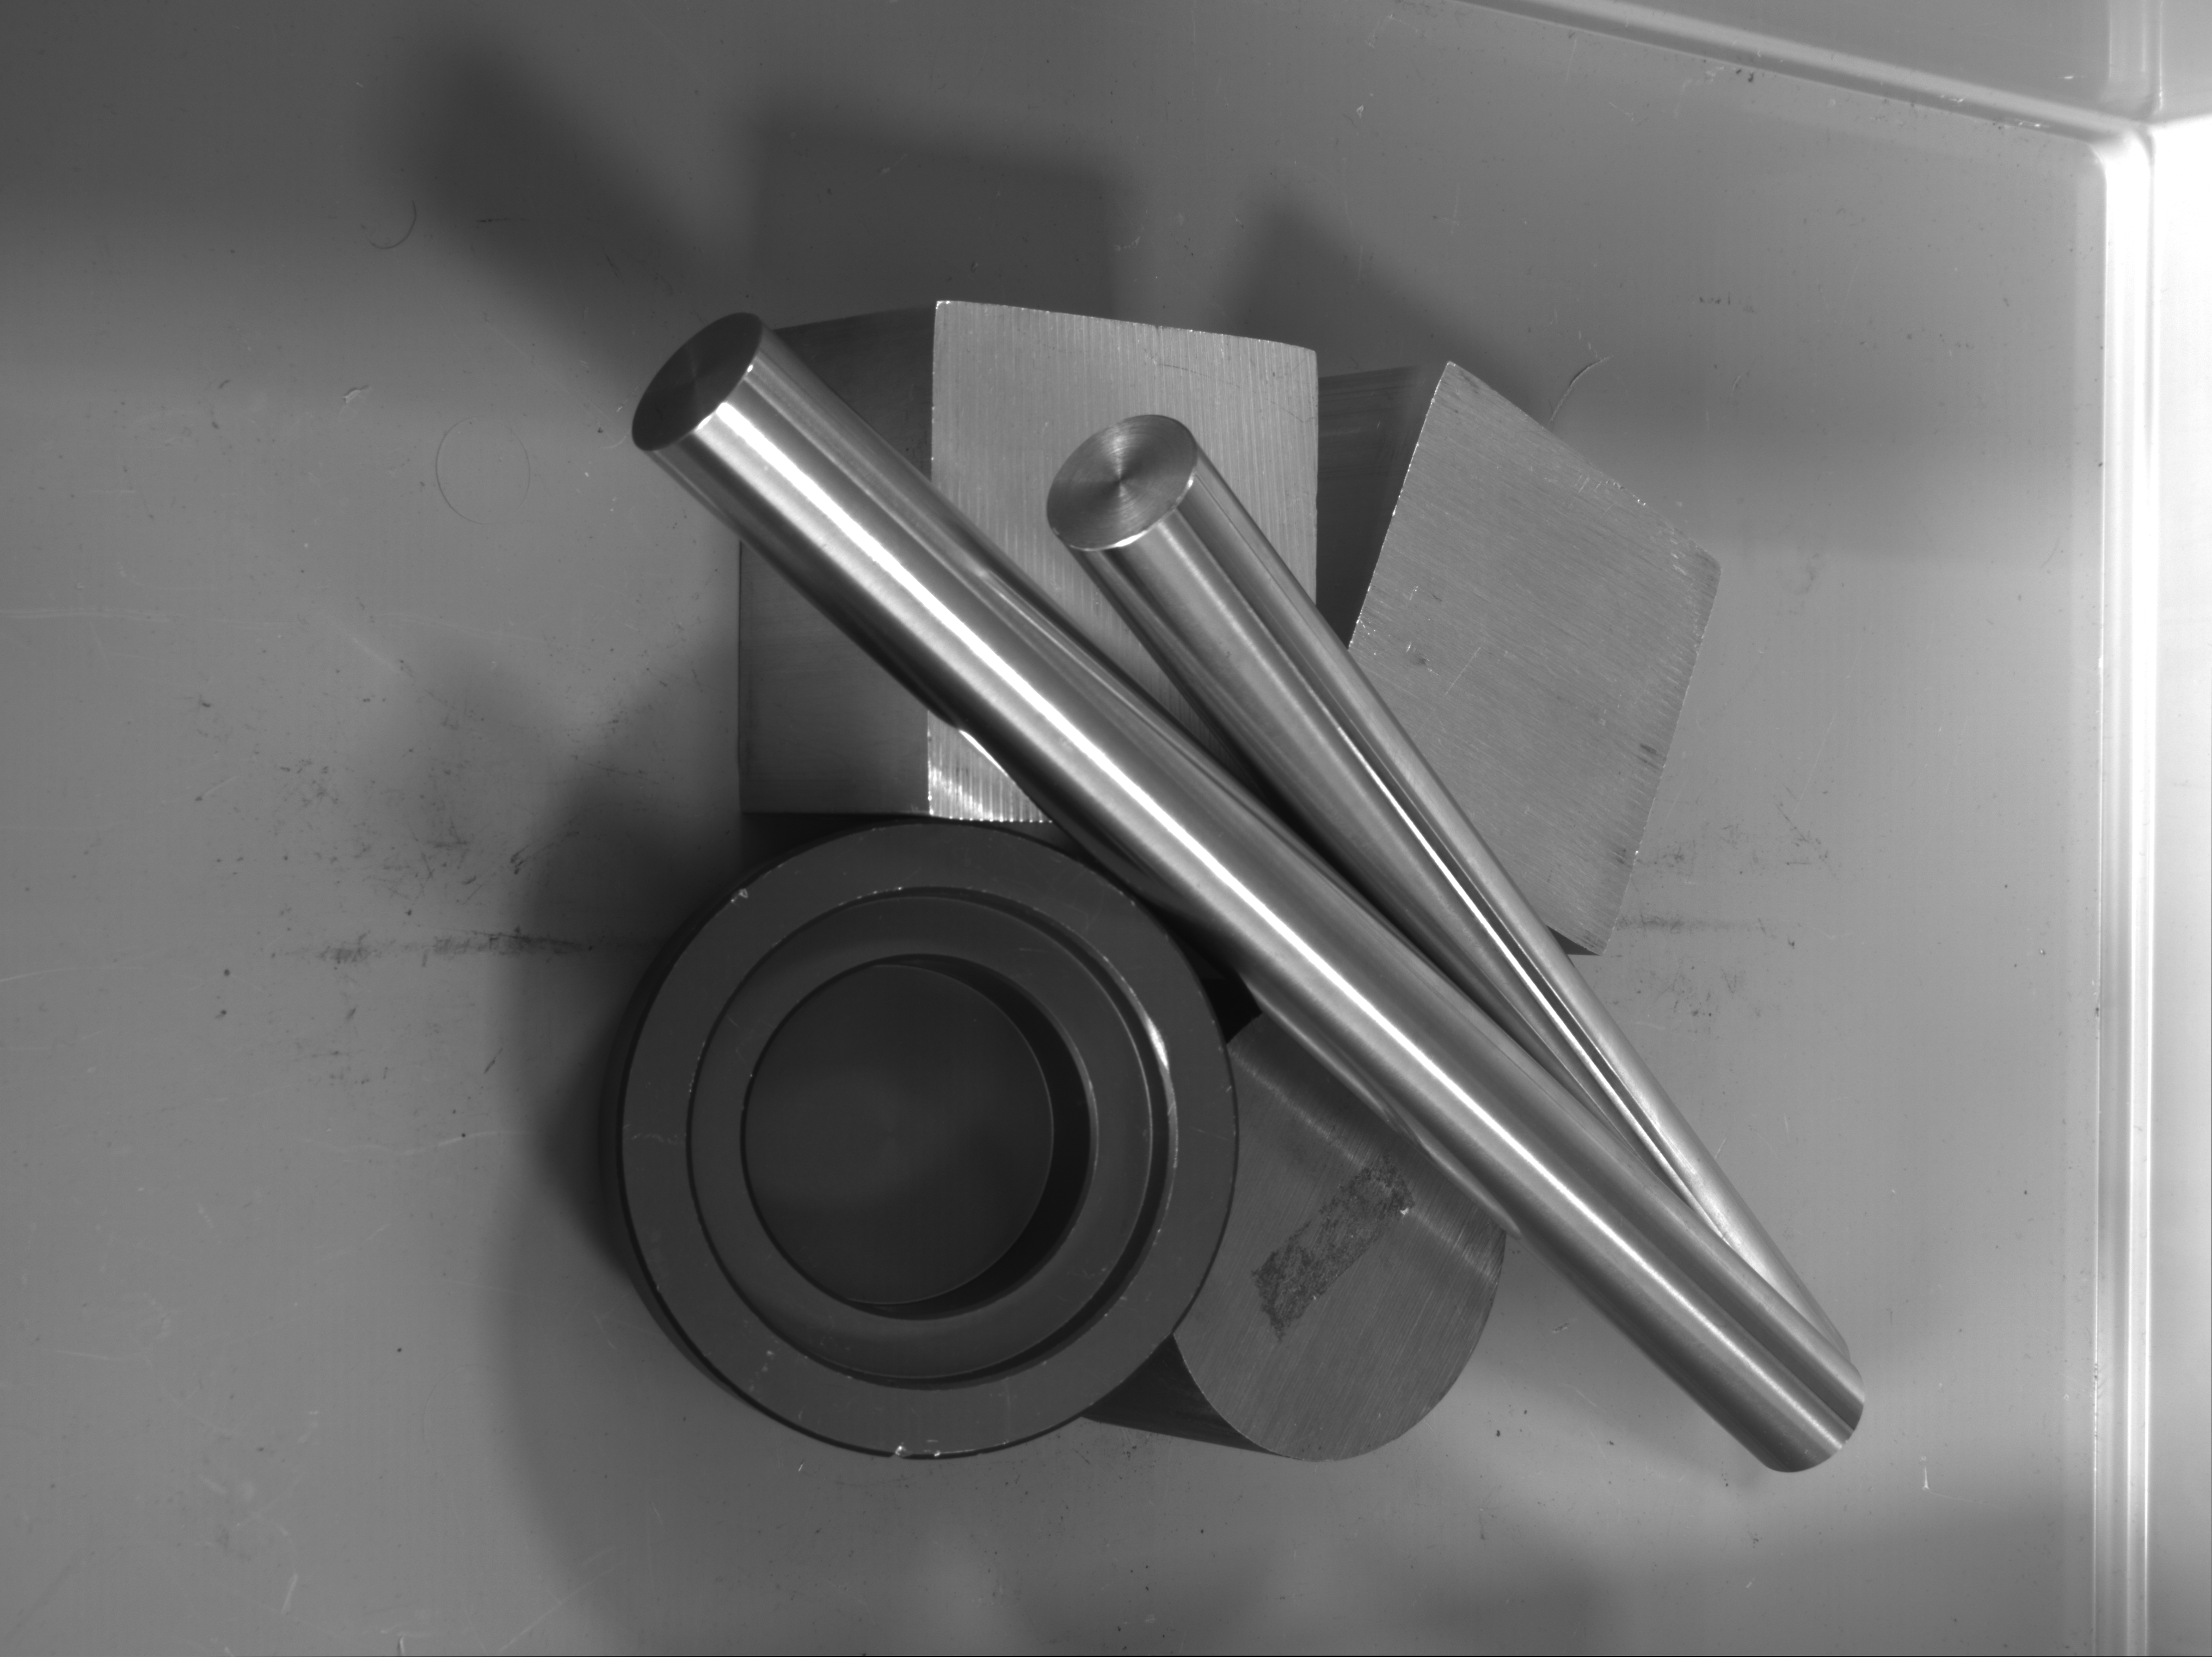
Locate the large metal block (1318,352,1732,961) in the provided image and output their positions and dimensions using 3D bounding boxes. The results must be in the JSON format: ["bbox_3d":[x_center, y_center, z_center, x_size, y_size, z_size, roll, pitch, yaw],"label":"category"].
[{"bbox_3d":[0.059,-0.029,0.666,0.080,0.050,0.080,31,71,-35],"label":"large metal block"}]

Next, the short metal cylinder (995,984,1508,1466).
[{"bbox_3d":[0.024,0.067,0.637,0.080,0.050,0.080,0,90,-40],"label":"short metal cylinder"}]

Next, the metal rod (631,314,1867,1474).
[{"bbox_3d":[0.036,0.023,0.598,0.301,0.025,0.025,42,64,-32],"label":"metal rod"}]

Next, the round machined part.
[{"bbox_3d":[-0.032,0.049,0.583,0.098,0.042,0.098,1,86,-16],"label":"round machined part"}]

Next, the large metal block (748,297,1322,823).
[{"bbox_3d":[-0.011,-0.041,0.605,0.080,0.050,0.080,1,89,-40],"label":"large metal block"}]

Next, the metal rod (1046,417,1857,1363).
[{"bbox_3d":[0.072,0.030,0.646,0.301,0.025,0.025,49,60,-45],"label":"metal rod"}]
